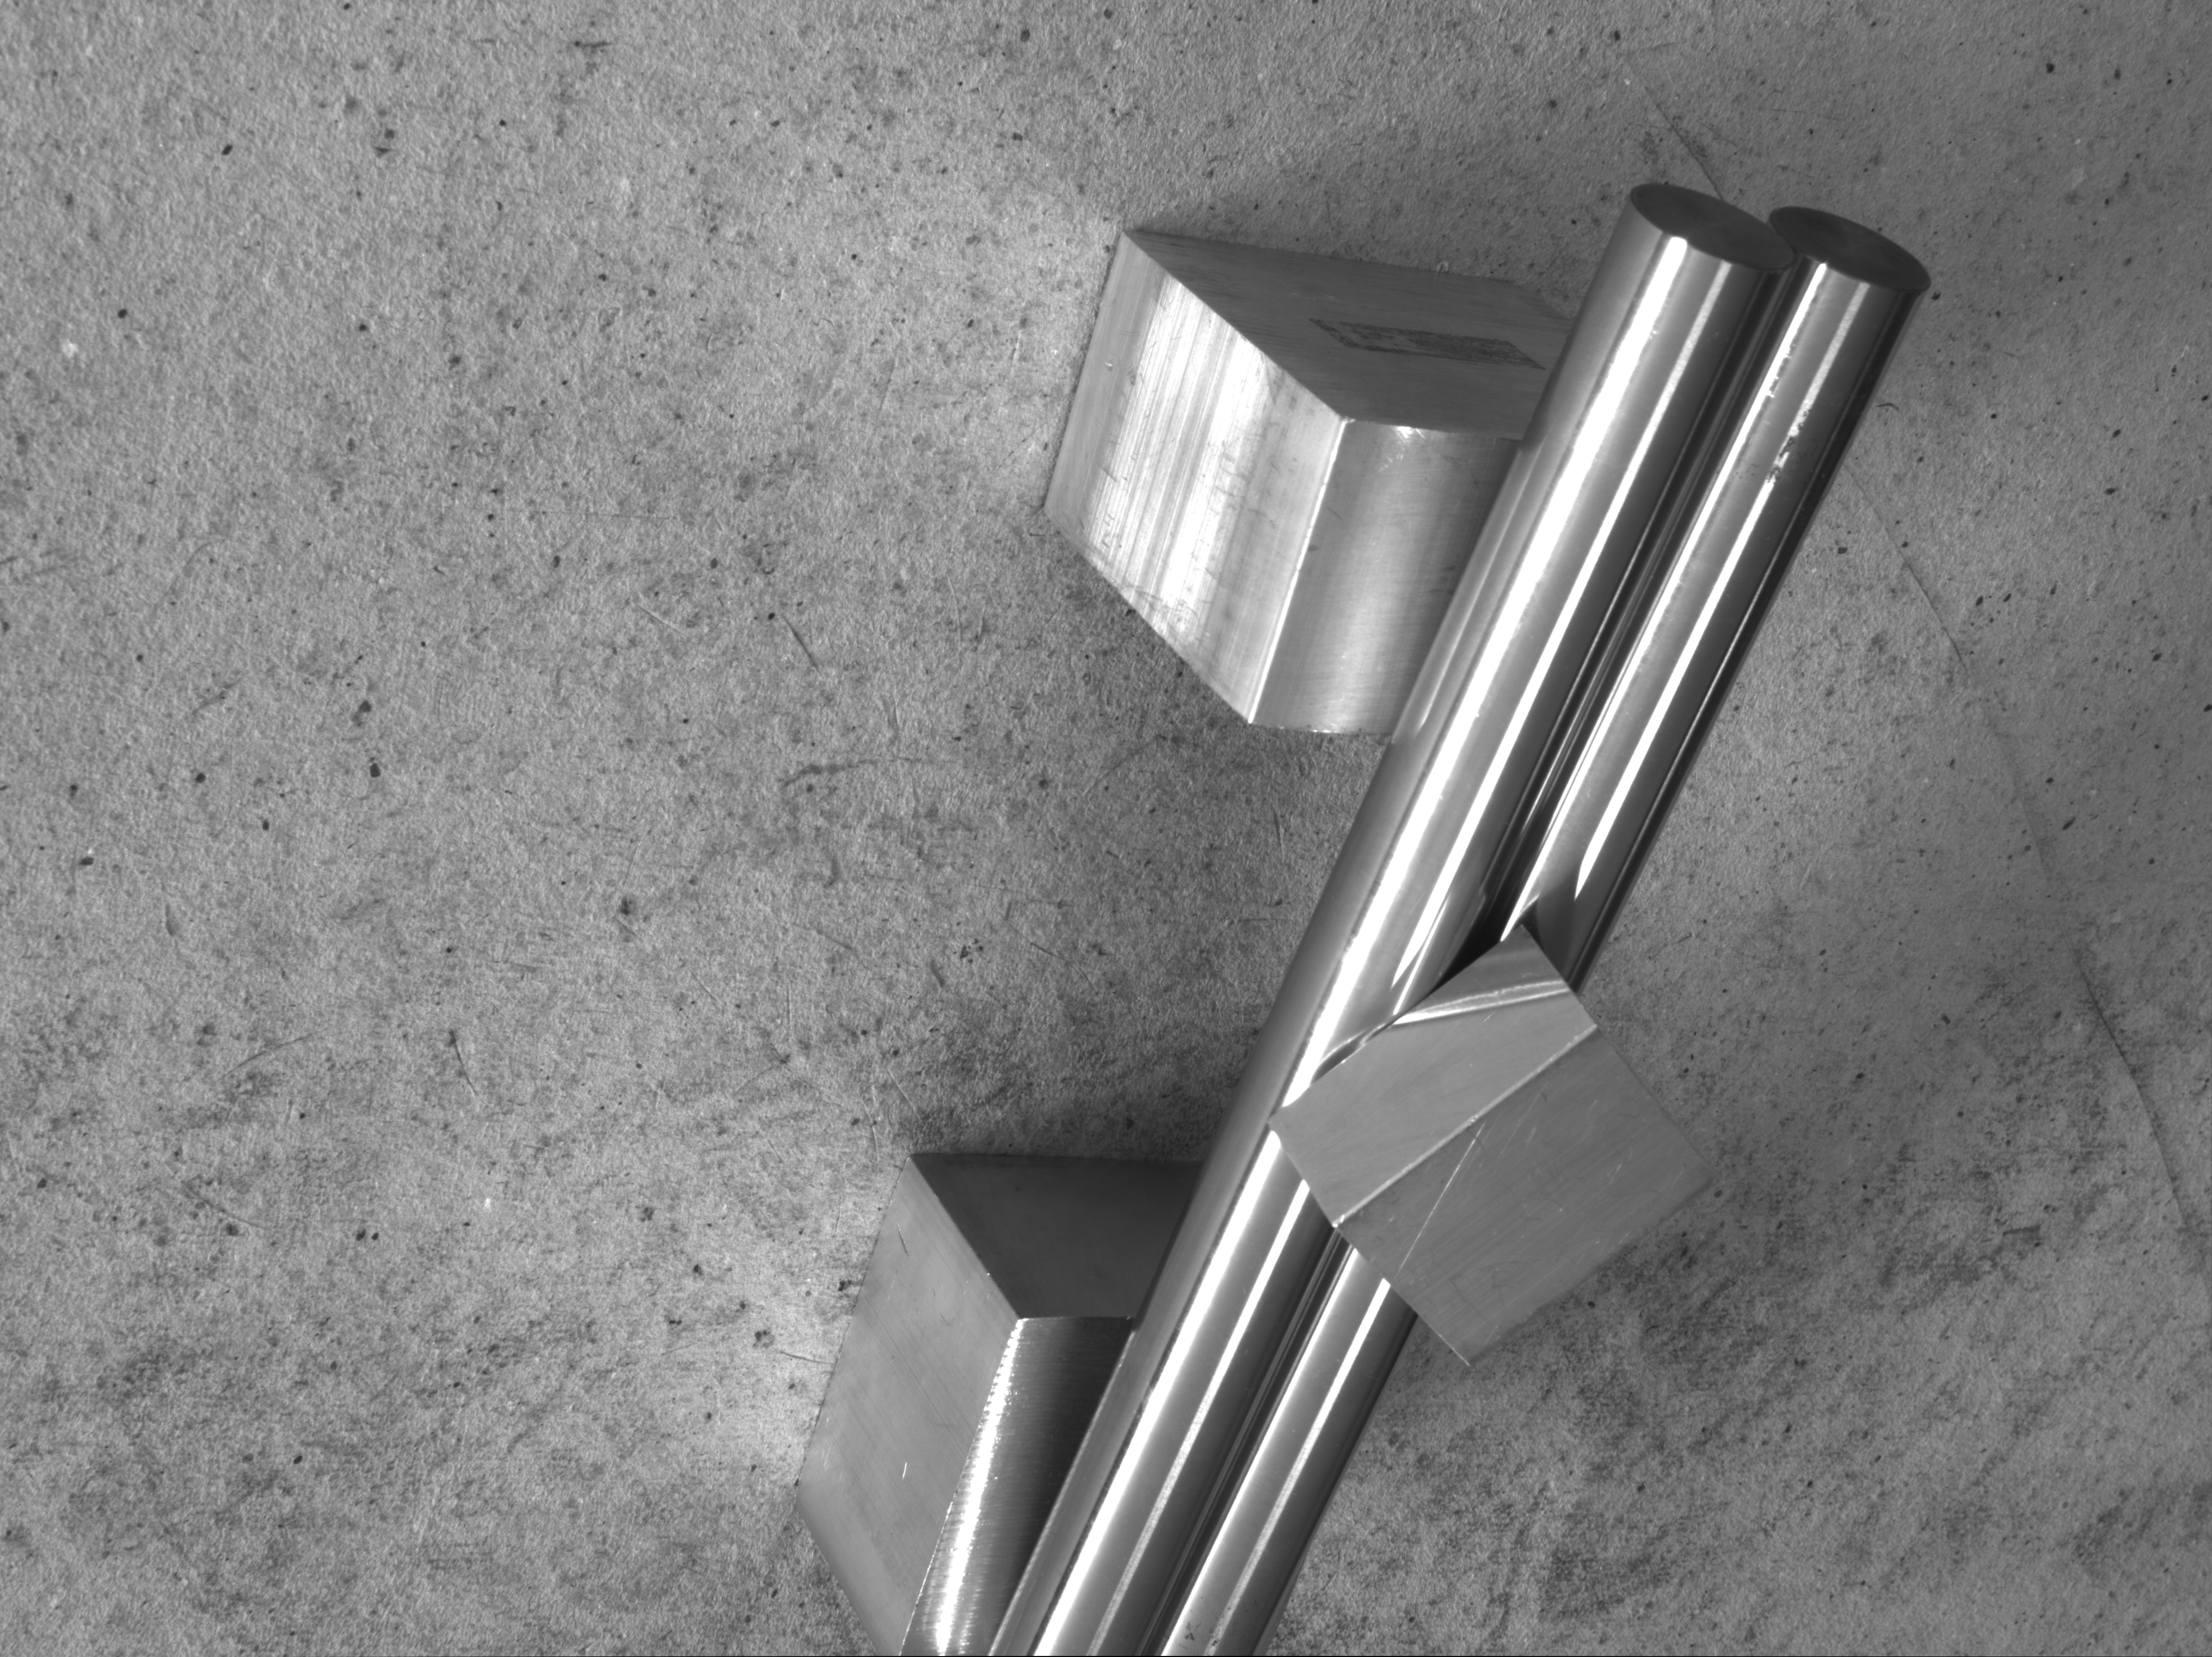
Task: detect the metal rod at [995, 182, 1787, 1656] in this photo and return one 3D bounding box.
[{"bbox_3d":[0.036,0.038,0.587,0.025,0.025,0.300,3,124,-29],"label":"metal rod"}]

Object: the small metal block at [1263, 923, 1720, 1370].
[{"bbox_3d":[0.061,0.051,0.576,0.050,0.025,0.050,-38,135,4],"label":"small metal block"}]

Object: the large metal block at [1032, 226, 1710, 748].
[{"bbox_3d":[0.046,-0.055,0.594,0.080,0.080,0.050,3,117,-30],"label":"large metal block"}]

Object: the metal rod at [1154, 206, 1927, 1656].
[{"bbox_3d":[0.059,0.039,0.600,0.025,0.025,0.300,3,124,-29],"label":"metal rod"}]

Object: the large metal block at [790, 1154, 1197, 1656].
[{"bbox_3d":[-0.004,0.109,0.685,0.080,0.050,0.080,5,116,-30],"label":"large metal block"}]
